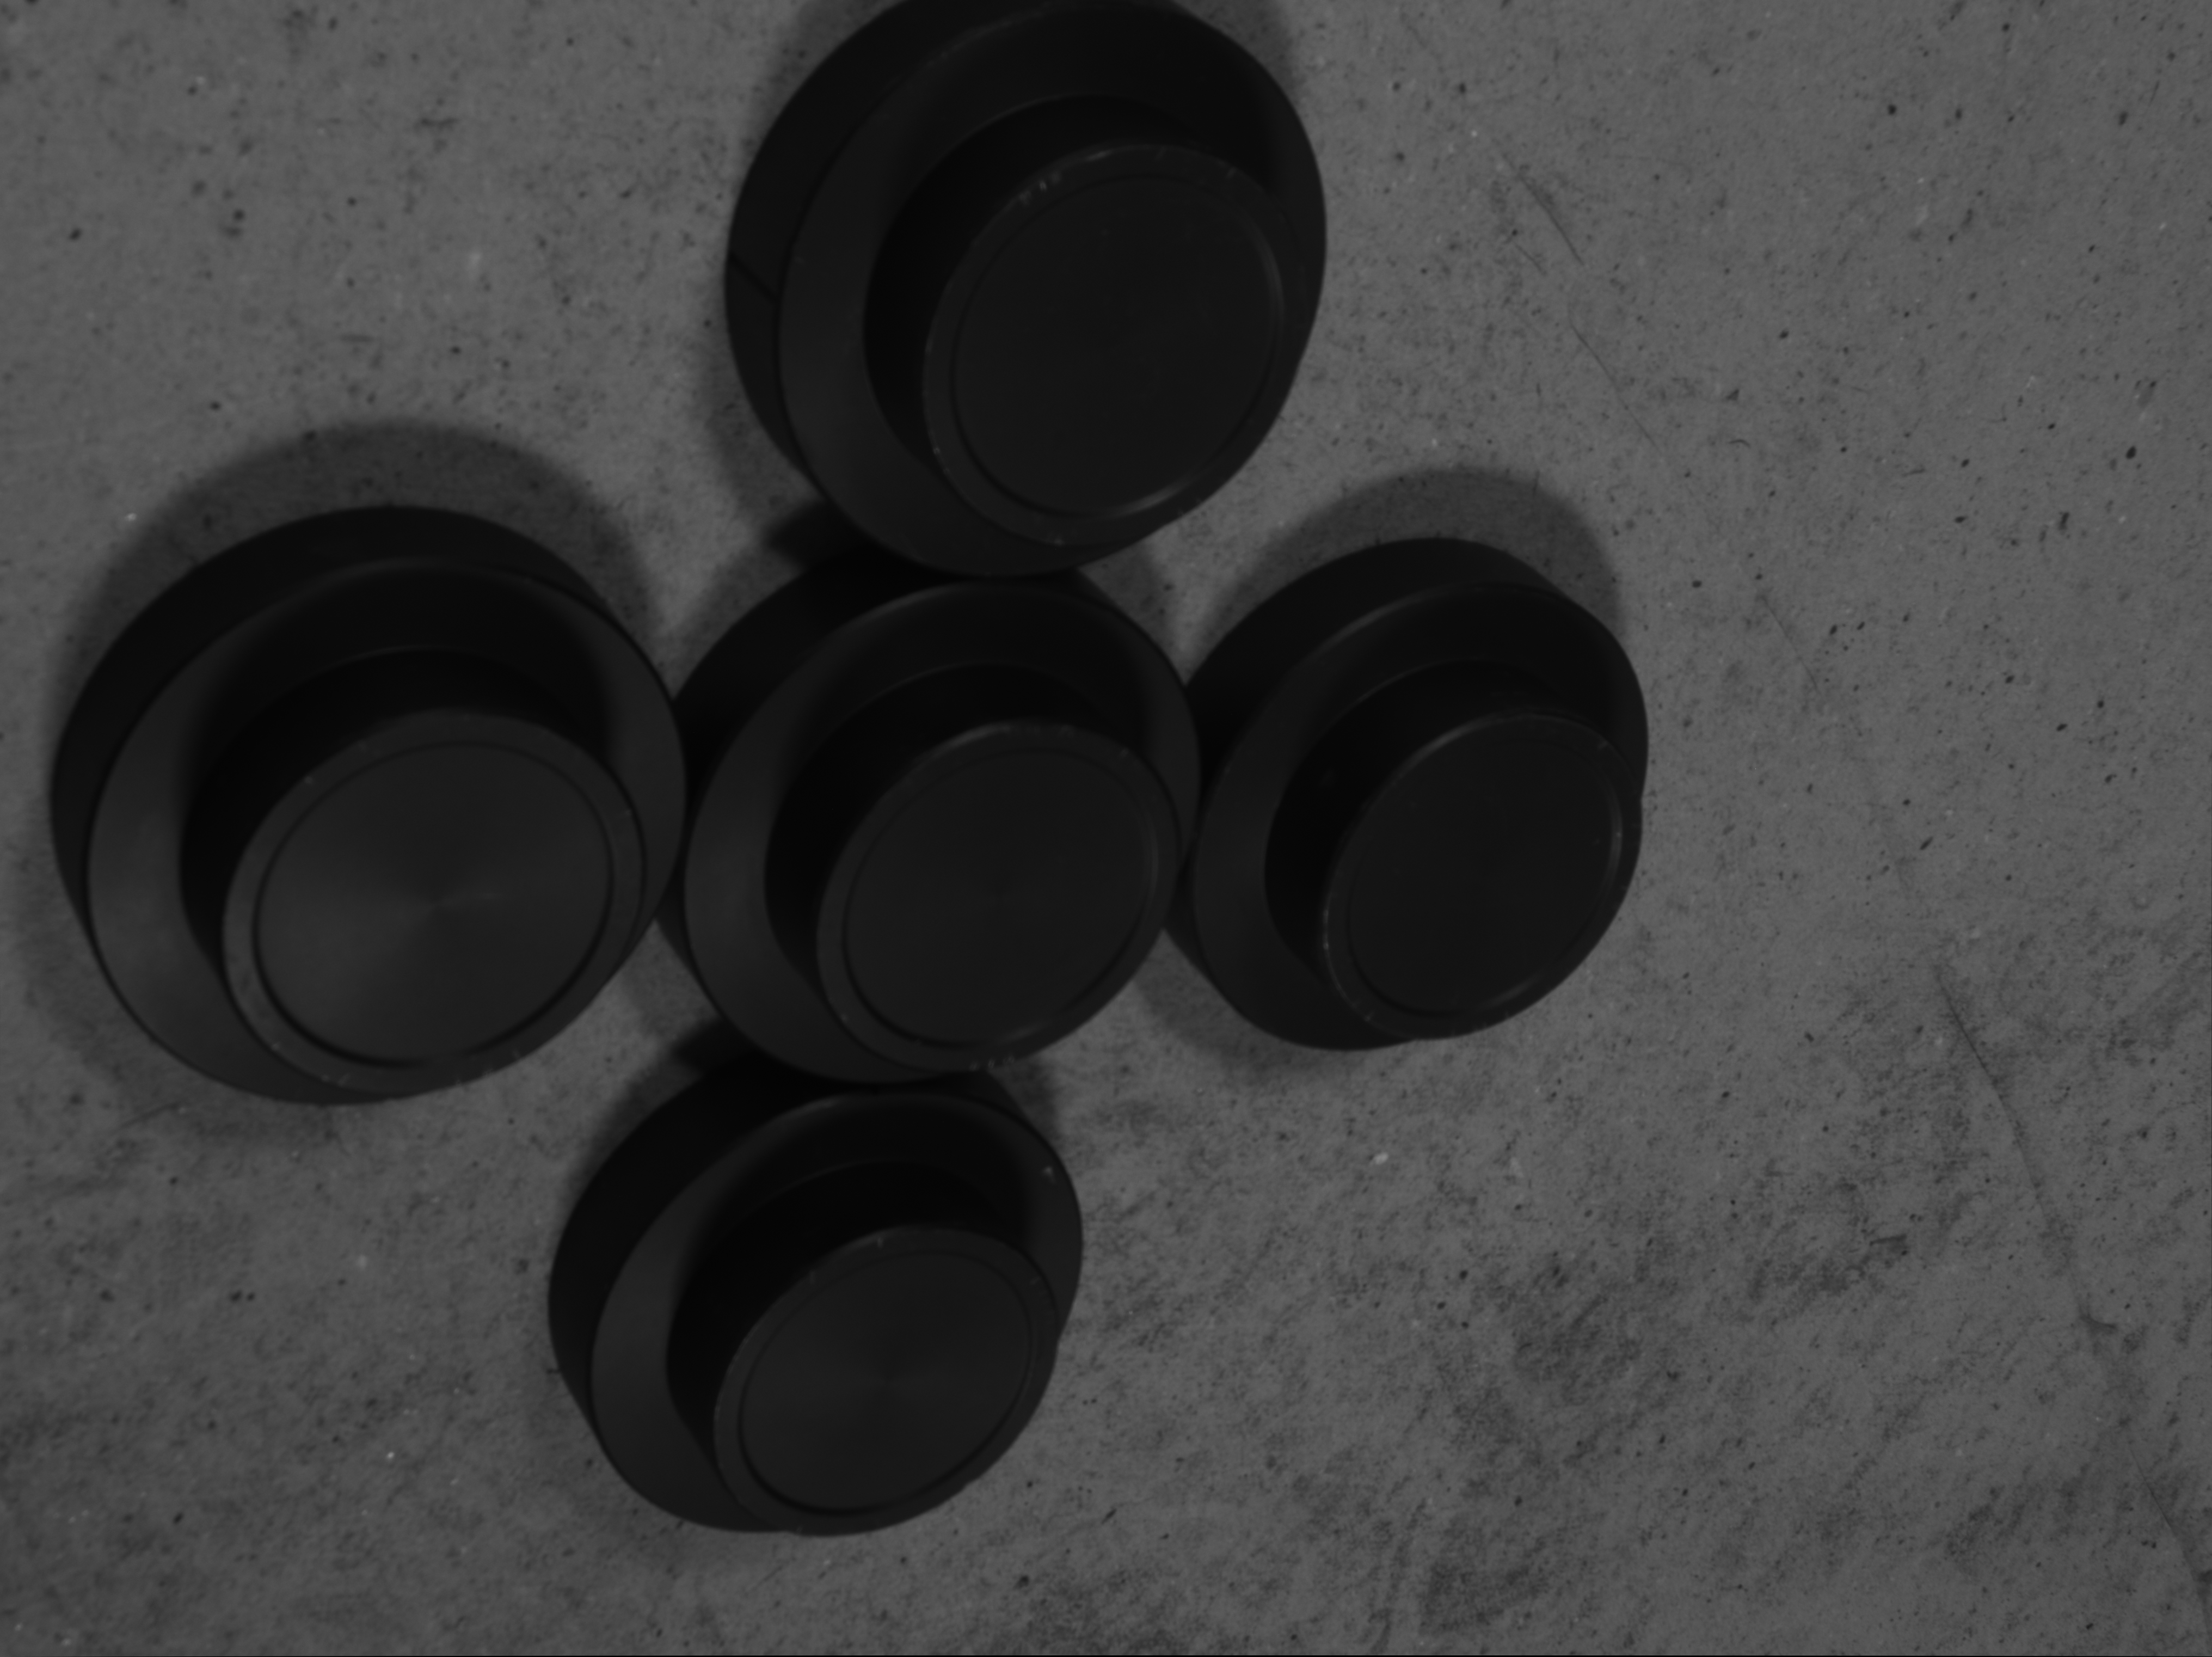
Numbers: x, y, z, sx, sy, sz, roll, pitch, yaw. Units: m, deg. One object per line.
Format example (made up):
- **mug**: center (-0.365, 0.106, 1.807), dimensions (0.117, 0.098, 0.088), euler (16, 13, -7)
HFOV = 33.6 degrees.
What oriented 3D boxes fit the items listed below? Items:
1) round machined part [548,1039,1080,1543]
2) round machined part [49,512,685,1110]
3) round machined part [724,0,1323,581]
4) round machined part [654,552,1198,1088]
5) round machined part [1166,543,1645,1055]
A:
- **round machined part**: center (-0.048, 0.090, 0.667), dimensions (0.098, 0.042, 0.098), euler (-15, 125, -22)
- **round machined part**: center (-0.112, 0.003, 0.577), dimensions (0.098, 0.042, 0.098), euler (-15, 125, -22)
- **round machined part**: center (-0.008, -0.084, 0.584), dimensions (0.098, 0.042, 0.098), euler (-15, 125, -22)
- **round machined part**: center (-0.027, 0.003, 0.626), dimensions (0.098, 0.042, 0.098), euler (-15, 125, -22)
- **round machined part**: center (0.059, 0.000, 0.675), dimensions (0.098, 0.042, 0.098), euler (-15, 125, -22)
